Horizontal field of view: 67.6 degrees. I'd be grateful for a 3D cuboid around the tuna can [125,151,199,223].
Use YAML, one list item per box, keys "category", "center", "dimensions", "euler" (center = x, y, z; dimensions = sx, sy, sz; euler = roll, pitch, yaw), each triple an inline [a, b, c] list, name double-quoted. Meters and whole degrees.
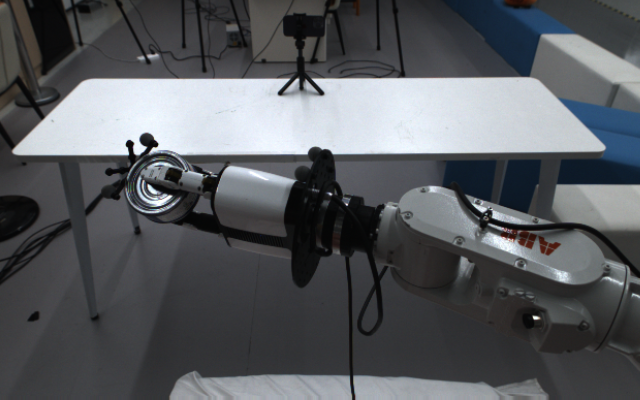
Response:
- category: "tuna can"
  center: [-0.188, -0.012, 0.588]
  dimensions: [0.085, 0.034, 0.085]
  euler: [-2, 73, 6]
